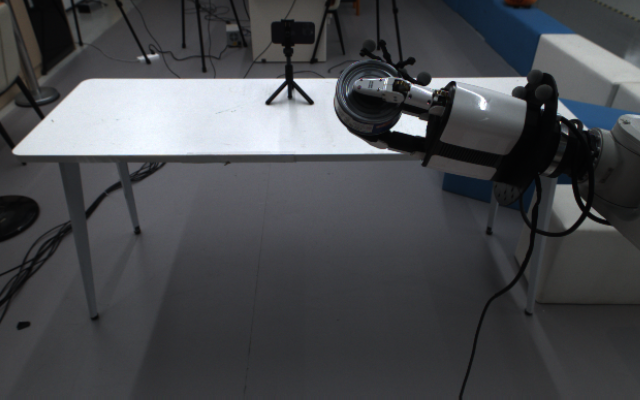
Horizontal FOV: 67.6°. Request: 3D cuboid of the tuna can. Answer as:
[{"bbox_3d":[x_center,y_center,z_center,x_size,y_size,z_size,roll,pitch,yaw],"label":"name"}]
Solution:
[{"bbox_3d":[0.065,-0.117,0.577,0.085,0.034,0.085,0,74,-1],"label":"tuna can"}]
